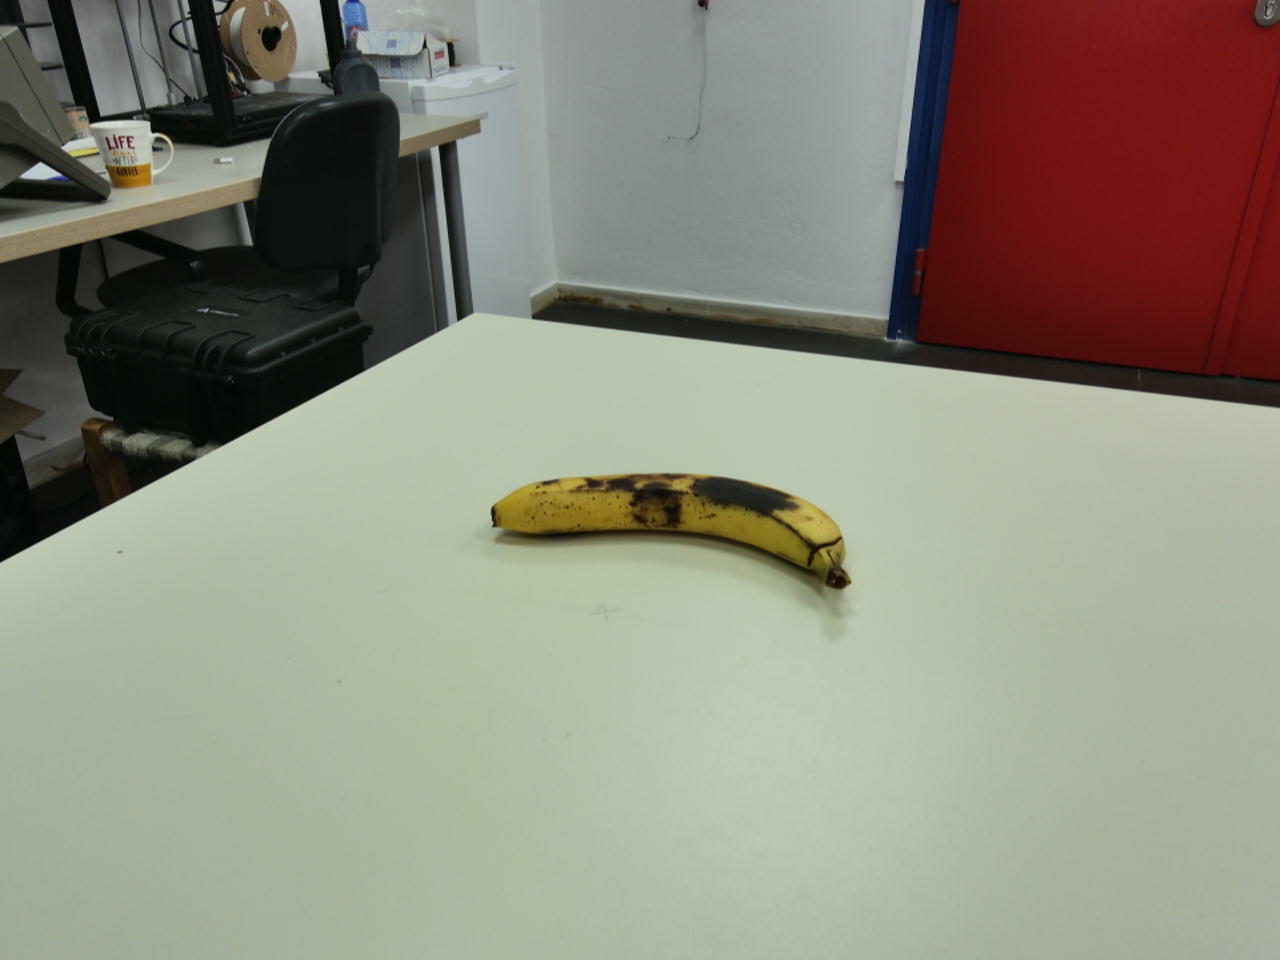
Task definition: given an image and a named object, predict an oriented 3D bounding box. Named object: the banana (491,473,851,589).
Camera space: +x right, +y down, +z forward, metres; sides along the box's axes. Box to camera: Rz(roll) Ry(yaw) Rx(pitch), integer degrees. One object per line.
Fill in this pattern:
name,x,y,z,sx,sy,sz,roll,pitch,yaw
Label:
banana,0.024,0.022,0.600,0.222,0.037,0.084,11,28,22
